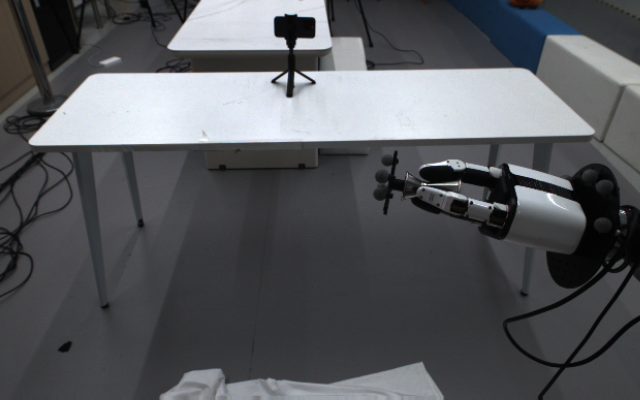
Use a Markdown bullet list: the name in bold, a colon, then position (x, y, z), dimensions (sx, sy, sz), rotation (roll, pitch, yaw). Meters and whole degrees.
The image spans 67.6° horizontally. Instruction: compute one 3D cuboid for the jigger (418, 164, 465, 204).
- **jigger**: position (0.148, -0.018, 0.623), dimensions (0.071, 0.043, 0.043), rotation (9, 35, 9)
